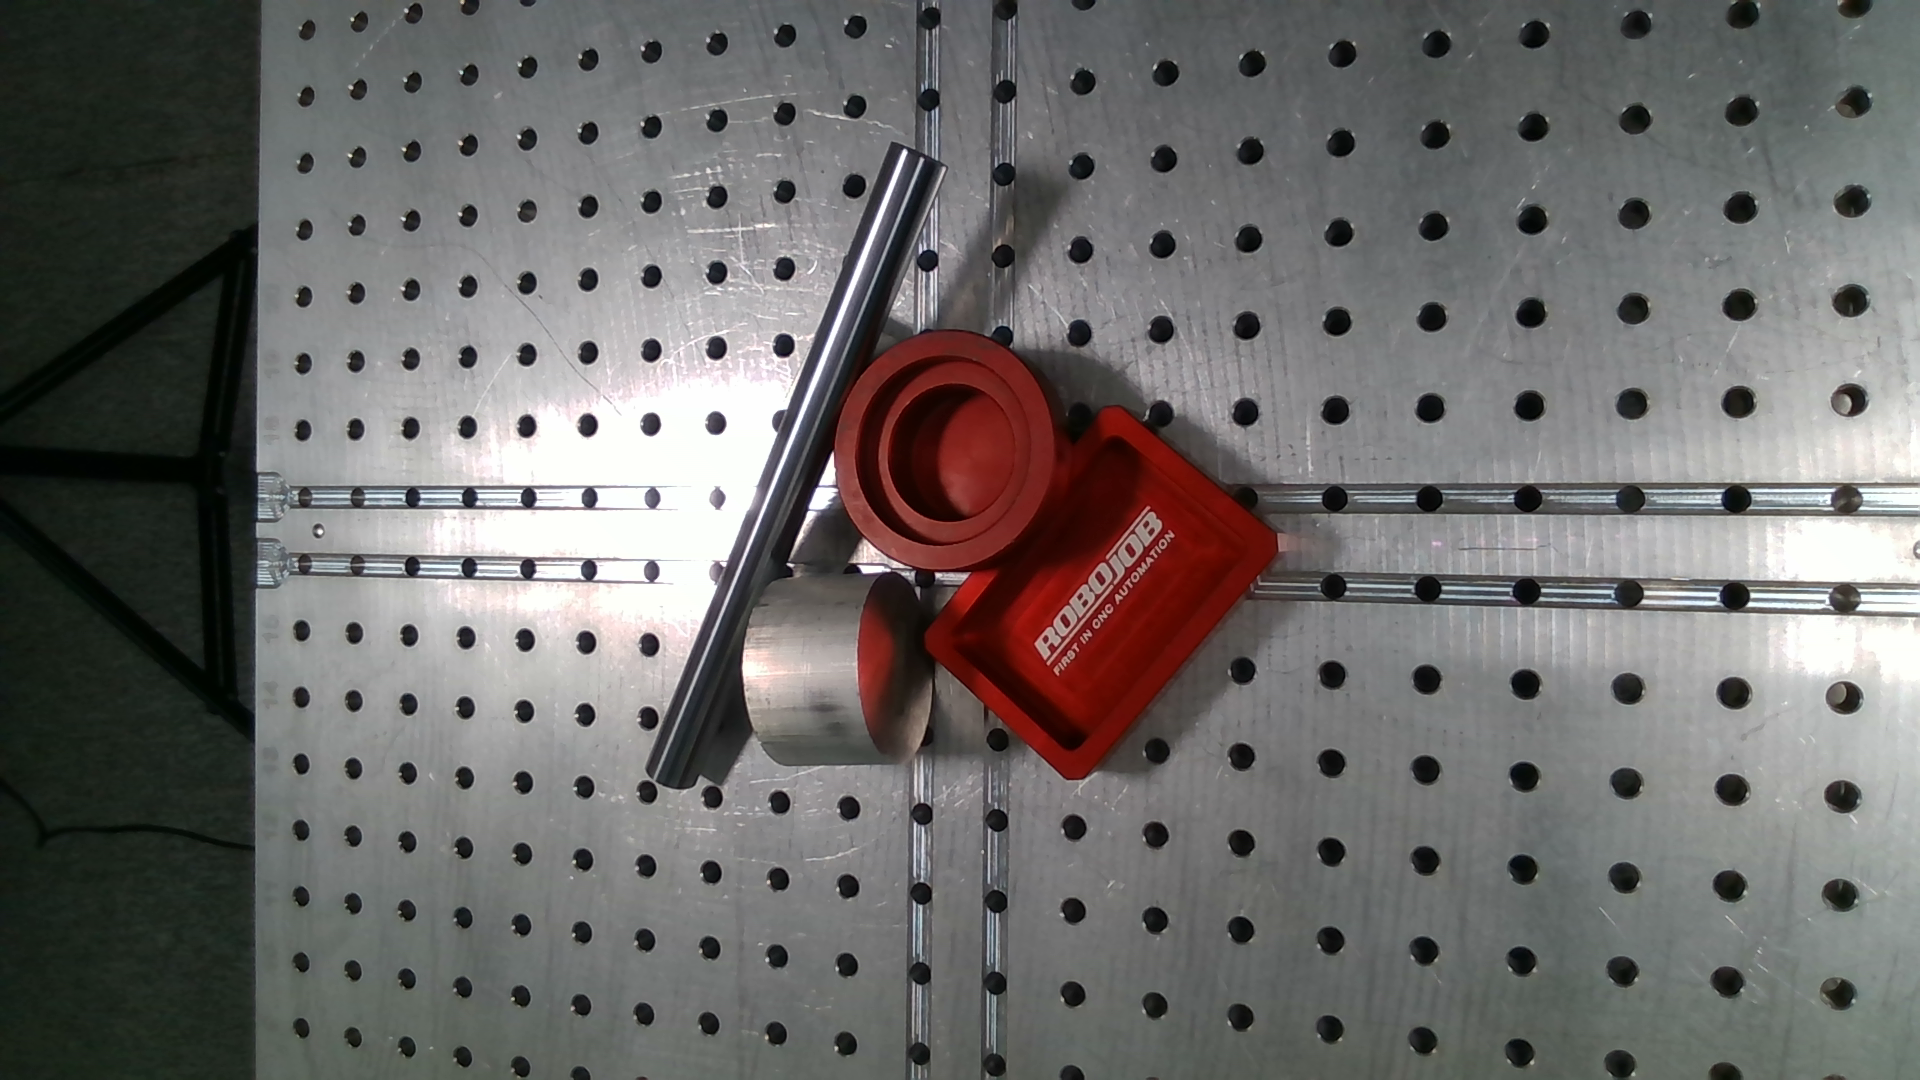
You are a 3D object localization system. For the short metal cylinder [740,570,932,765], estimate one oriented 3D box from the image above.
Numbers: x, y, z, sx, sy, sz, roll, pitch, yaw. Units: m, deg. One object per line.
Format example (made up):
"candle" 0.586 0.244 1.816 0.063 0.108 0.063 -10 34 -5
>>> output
"short metal cylinder" -0.050 0.054 0.576 0.050 0.080 0.080 -4 89 20

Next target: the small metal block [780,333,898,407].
"small metal block" -0.043 -0.069 0.603 0.050 0.025 0.050 30 100 18

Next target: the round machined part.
"round machined part" 0.000 -0.035 0.570 0.098 0.042 0.098 -1 88 20

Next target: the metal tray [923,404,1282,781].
"metal tray" 0.058 0.022 0.563 0.090 0.030 0.130 42 103 15

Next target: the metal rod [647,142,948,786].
"metal rod" -0.075 -0.023 0.594 0.025 0.025 0.301 30 109 18
